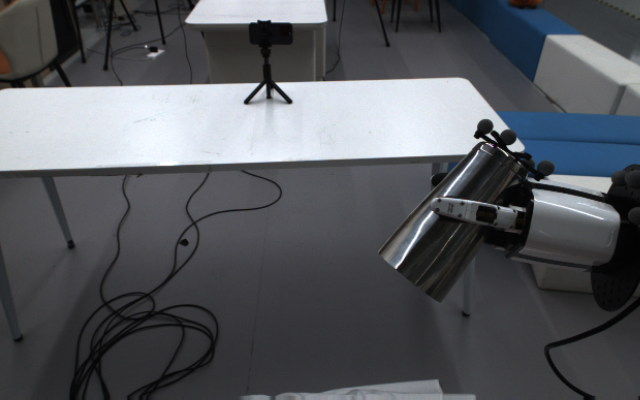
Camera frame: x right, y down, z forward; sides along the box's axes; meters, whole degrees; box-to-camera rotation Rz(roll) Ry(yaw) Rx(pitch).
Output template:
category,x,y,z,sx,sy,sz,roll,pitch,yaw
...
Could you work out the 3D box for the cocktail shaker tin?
category,x,y,z,sx,sy,sz,roll,pitch,yaw
cocktail shaker tin,0.155,0.017,0.550,0.170,0.093,0.093,-50,46,3
